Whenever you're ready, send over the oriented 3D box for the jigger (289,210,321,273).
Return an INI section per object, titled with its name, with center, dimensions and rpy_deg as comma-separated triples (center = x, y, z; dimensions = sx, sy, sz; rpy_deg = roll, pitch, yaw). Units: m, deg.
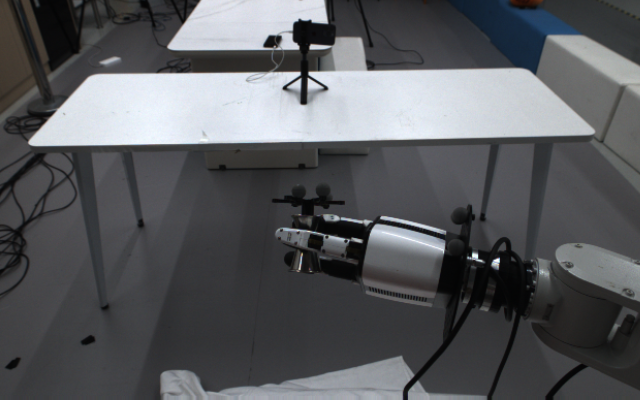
[jigger]
center = -0.016, 0.053, 0.589
dimensions = 0.043, 0.071, 0.043
rpy_deg = 1, -6, 0
